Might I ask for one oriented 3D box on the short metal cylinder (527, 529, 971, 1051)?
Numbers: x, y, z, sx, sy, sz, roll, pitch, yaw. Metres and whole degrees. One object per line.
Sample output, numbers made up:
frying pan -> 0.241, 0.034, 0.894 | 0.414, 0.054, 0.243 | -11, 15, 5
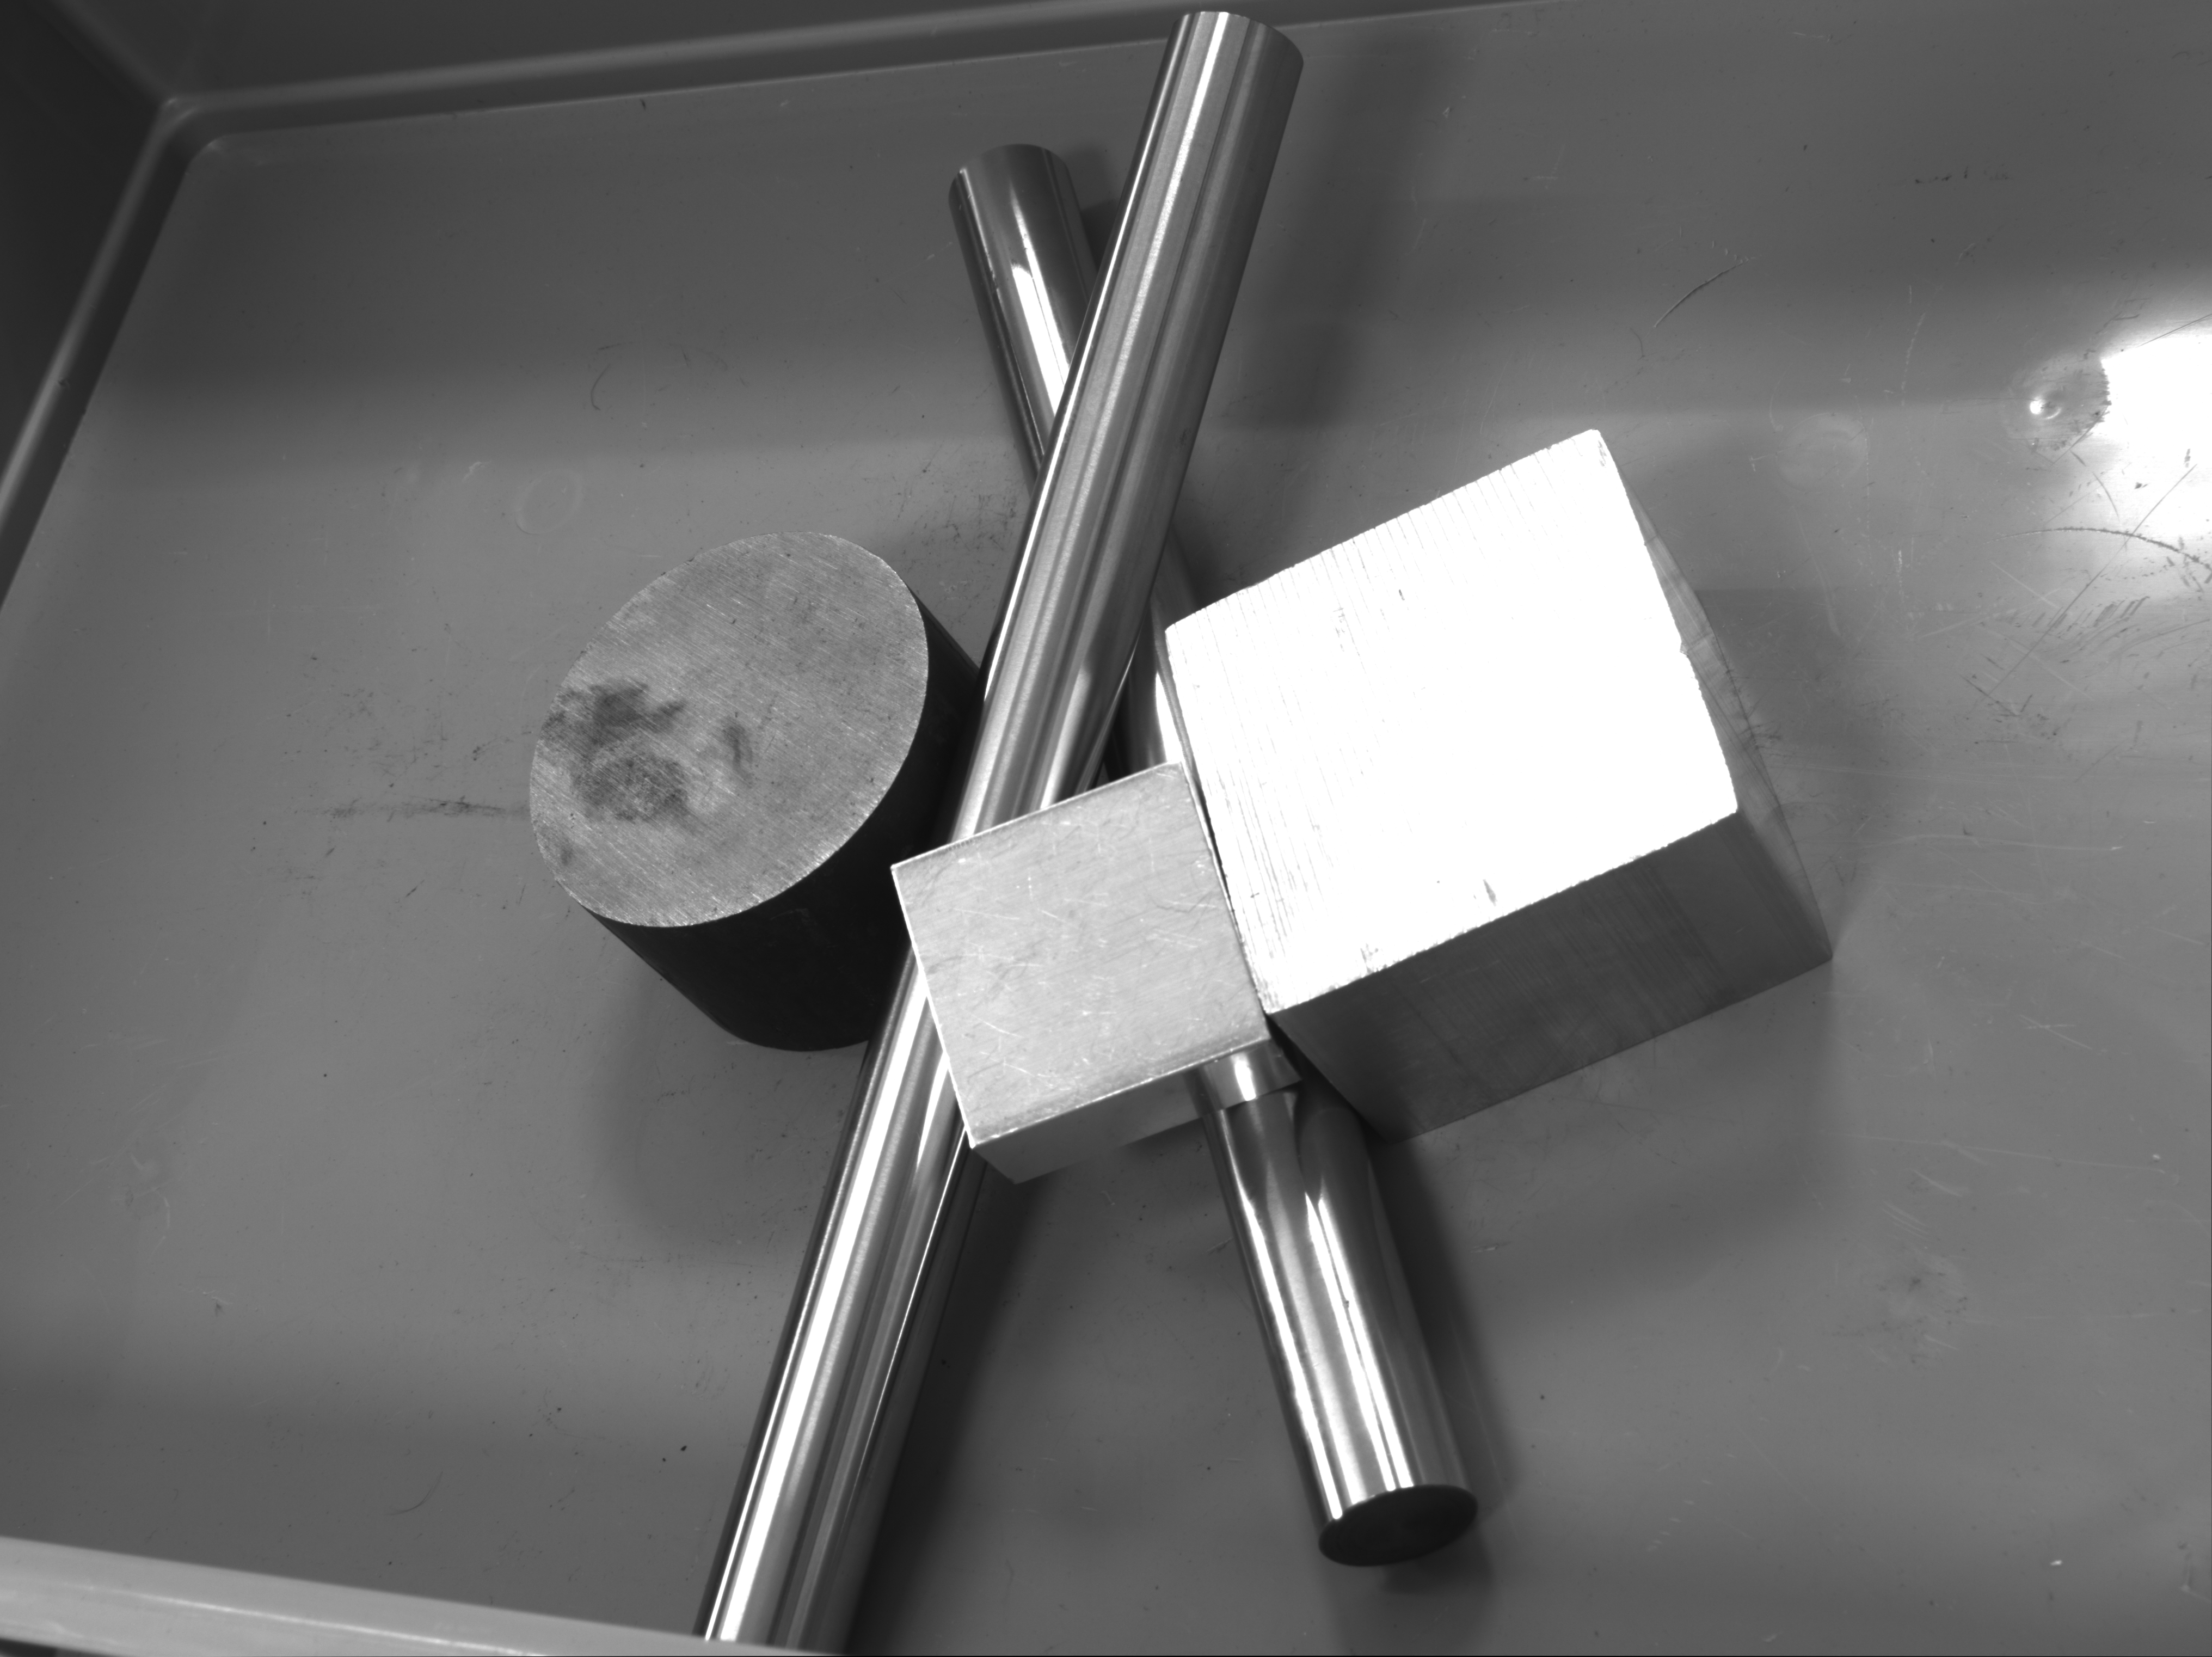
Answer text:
short metal cylinder -> -0.057, -0.007, 0.663 | 0.080, 0.050, 0.080 | -13, 56, 21

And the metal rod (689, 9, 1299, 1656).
metal rod -> -0.016, -0.003, 0.629 | 0.025, 0.025, 0.300 | 6, 72, 31

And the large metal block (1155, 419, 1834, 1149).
large metal block -> 0.062, -0.007, 0.598 | 0.080, 0.050, 0.080 | -24, 53, 13

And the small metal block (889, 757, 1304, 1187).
small metal block -> -0.002, 0.023, 0.589 | 0.050, 0.025, 0.050 | -20, 68, 7

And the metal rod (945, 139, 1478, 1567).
metal rod -> 0.012, -0.011, 0.644 | 0.025, 0.025, 0.300 | -25, 53, 13
